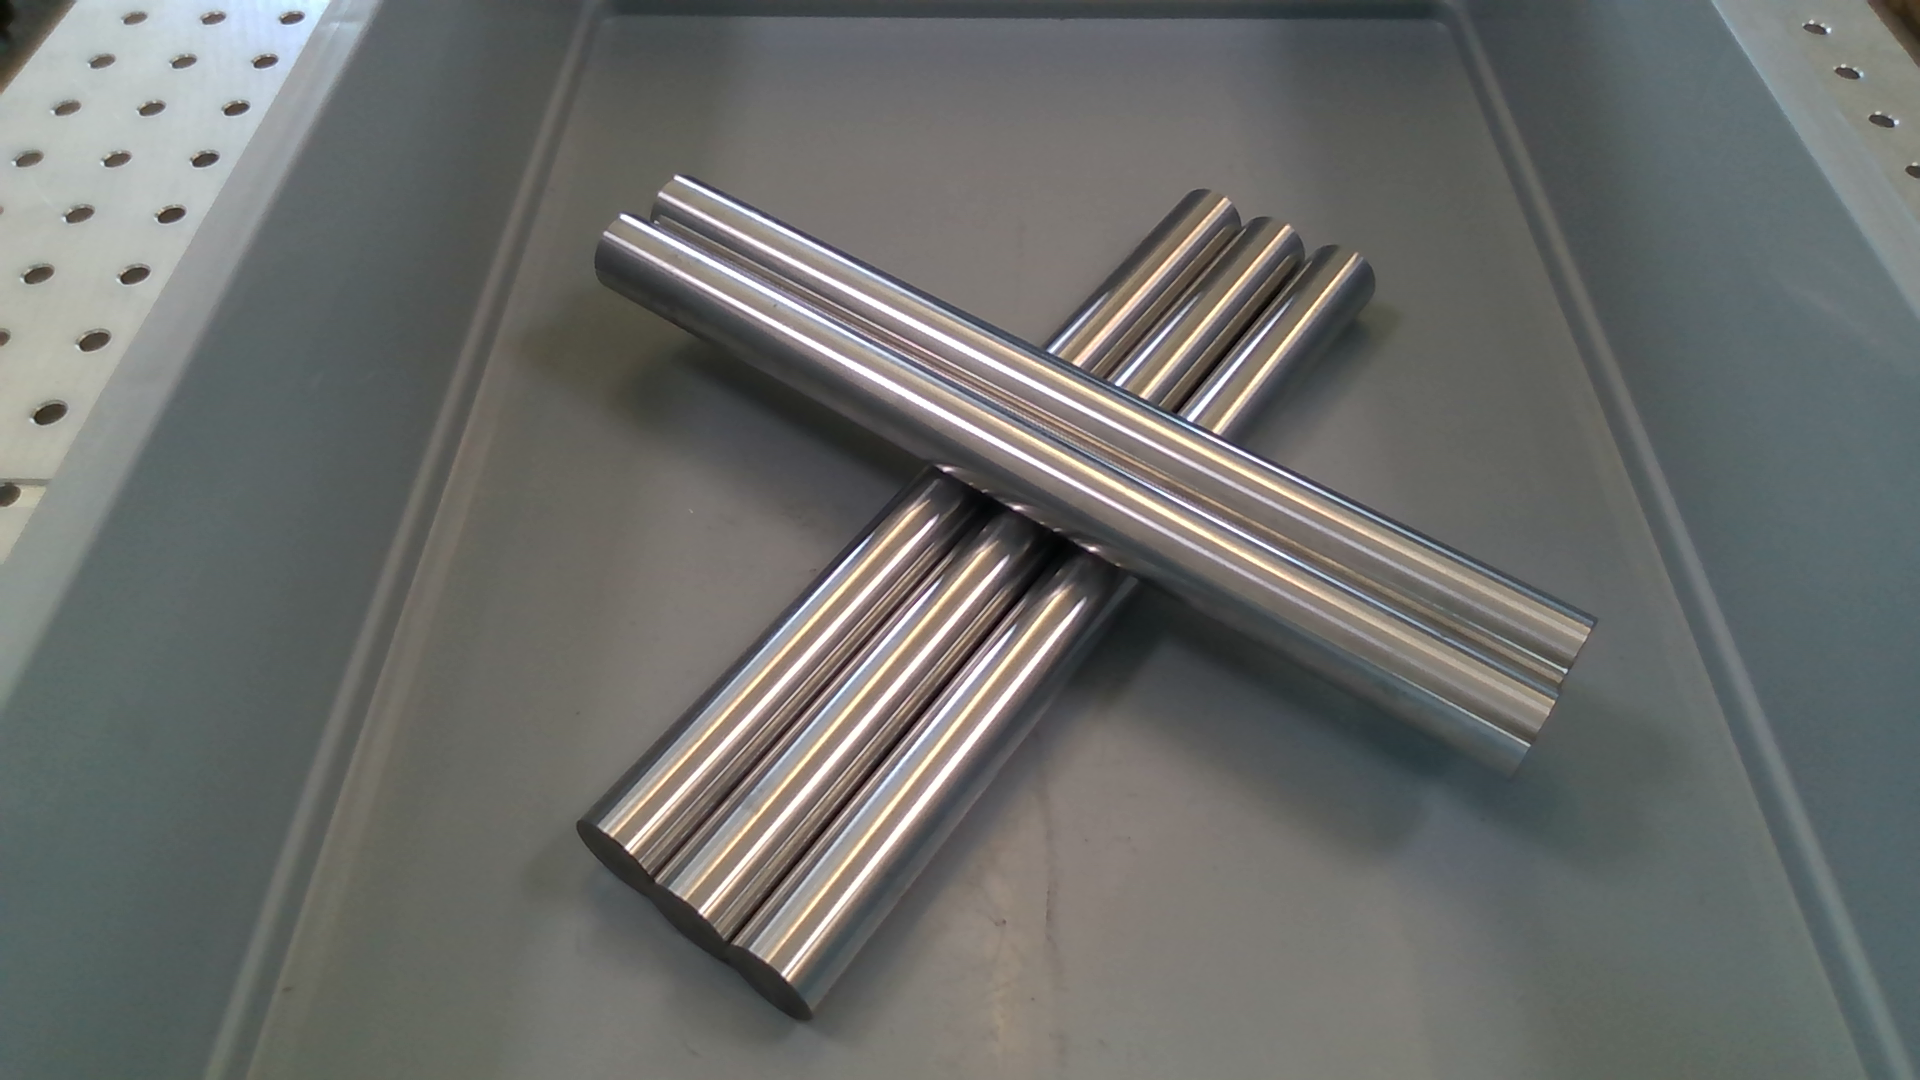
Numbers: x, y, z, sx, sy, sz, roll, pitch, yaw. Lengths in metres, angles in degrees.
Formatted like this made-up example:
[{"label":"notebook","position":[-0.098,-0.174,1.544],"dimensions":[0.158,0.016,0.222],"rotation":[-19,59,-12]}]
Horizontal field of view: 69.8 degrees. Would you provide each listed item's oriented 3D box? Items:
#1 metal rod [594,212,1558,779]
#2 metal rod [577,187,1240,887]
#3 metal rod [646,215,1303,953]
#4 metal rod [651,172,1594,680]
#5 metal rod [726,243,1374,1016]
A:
[{"label":"metal rod","position":[0.014,-0.024,0.379],"dimensions":[0.300,0.025,0.025],"rotation":[30,56,22]},{"label":"metal rod","position":[0.003,-0.019,0.408],"dimensions":[0.025,0.025,0.299],"rotation":[28,56,21]},{"label":"metal rod","position":[0.022,-0.007,0.398],"dimensions":[0.025,0.025,0.299],"rotation":[28,56,21]},{"label":"metal rod","position":[0.028,-0.040,0.393],"dimensions":[0.300,0.025,0.025],"rotation":[30,56,22]},{"label":"metal rod","position":[0.043,0.005,0.389],"dimensions":[0.025,0.025,0.299],"rotation":[28,56,22]}]
